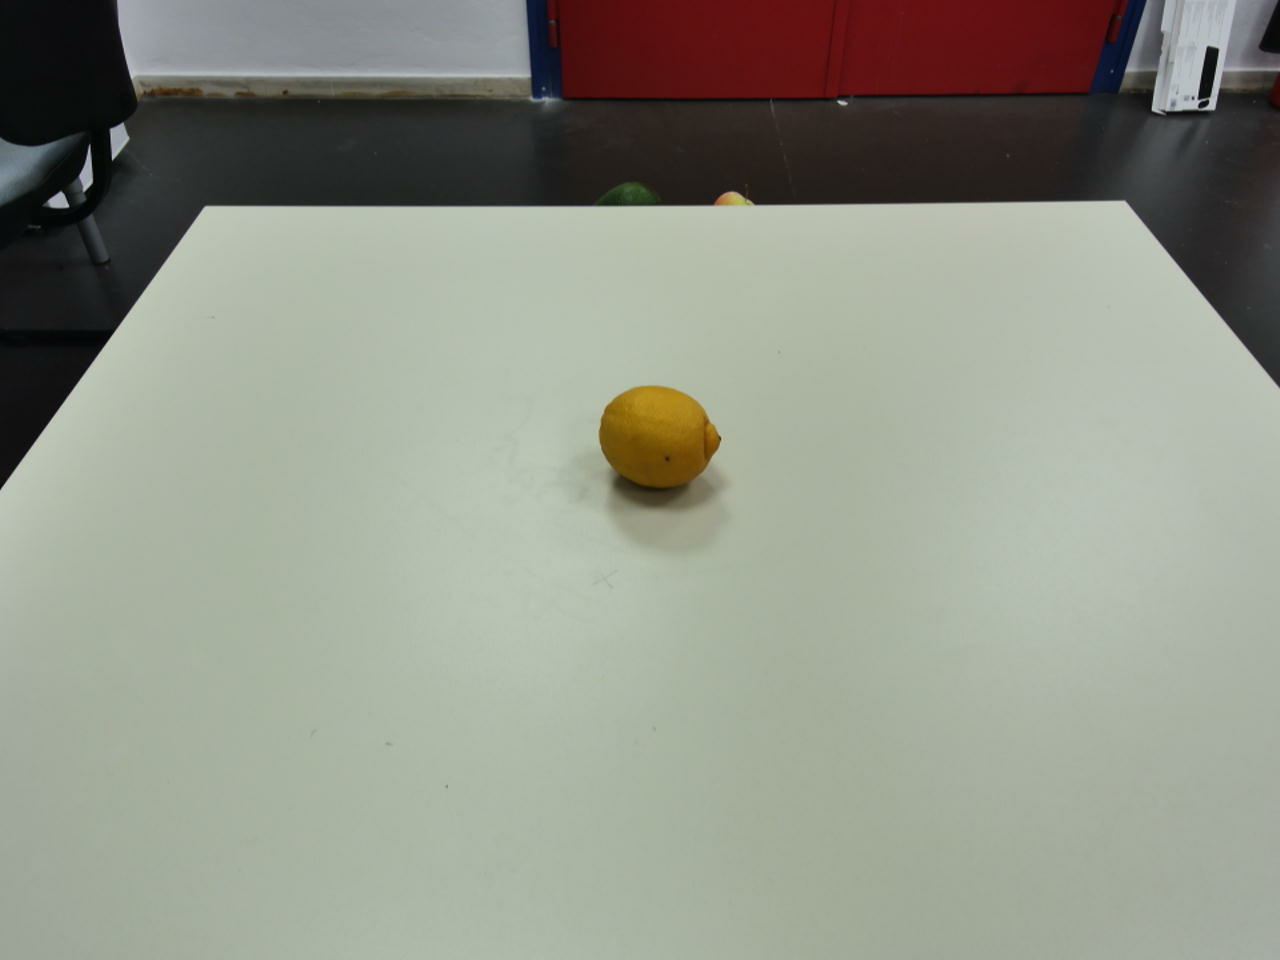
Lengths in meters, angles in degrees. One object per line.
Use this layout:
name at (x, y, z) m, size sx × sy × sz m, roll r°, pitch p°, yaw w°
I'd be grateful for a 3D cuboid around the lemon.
lemon at (0.010, -0.025, 0.591) m, size 0.067 × 0.059 × 0.060 m, roll 30°, pitch 48°, yaw 31°
